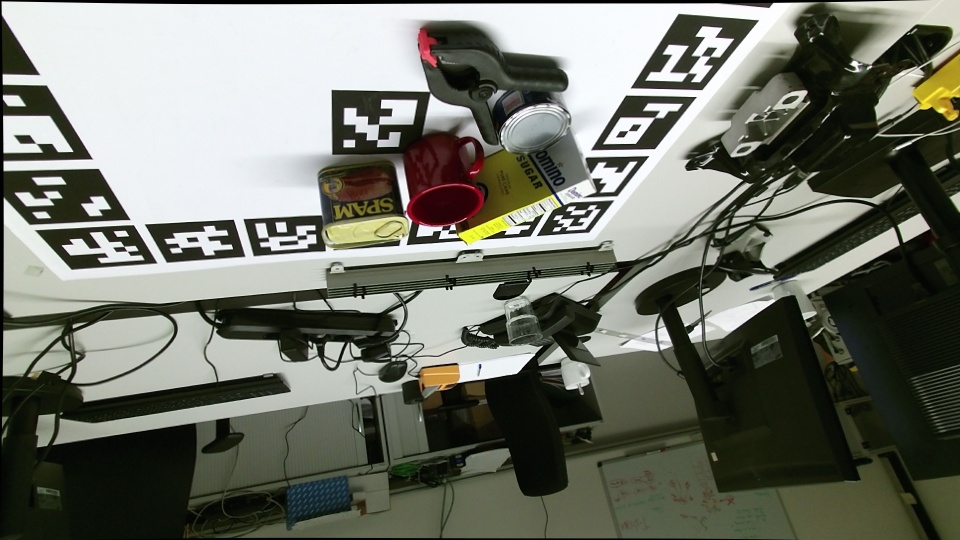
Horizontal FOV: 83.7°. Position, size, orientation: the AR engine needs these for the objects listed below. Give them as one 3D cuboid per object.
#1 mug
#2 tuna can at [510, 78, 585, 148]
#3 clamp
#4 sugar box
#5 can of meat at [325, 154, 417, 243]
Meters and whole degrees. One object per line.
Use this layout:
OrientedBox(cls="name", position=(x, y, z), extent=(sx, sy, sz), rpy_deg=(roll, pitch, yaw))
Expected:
OrientedBox(cls="mug", position=(-0.023, -0.113, 0.623), extent=(0.093, 0.081, 0.117), rpy_deg=(10, 143, -38))
OrientedBox(cls="tuna can", position=(0.078, -0.179, 0.602), extent=(0.086, 0.033, 0.086), rpy_deg=(-12, 152, -6))
OrientedBox(cls="clamp", position=(0.015, -0.204, 0.535), extent=(0.122, 0.036, 0.166), rpy_deg=(-28, 146, 34))
OrientedBox(cls="sugar box", position=(0.061, -0.116, 0.665), extent=(0.177, 0.092, 0.045), rpy_deg=(-22, 154, 18))
OrientedBox(cls="can of meat", position=(-0.132, -0.086, 0.640), extent=(0.102, 0.083, 0.058), rpy_deg=(-8, 154, -9))
